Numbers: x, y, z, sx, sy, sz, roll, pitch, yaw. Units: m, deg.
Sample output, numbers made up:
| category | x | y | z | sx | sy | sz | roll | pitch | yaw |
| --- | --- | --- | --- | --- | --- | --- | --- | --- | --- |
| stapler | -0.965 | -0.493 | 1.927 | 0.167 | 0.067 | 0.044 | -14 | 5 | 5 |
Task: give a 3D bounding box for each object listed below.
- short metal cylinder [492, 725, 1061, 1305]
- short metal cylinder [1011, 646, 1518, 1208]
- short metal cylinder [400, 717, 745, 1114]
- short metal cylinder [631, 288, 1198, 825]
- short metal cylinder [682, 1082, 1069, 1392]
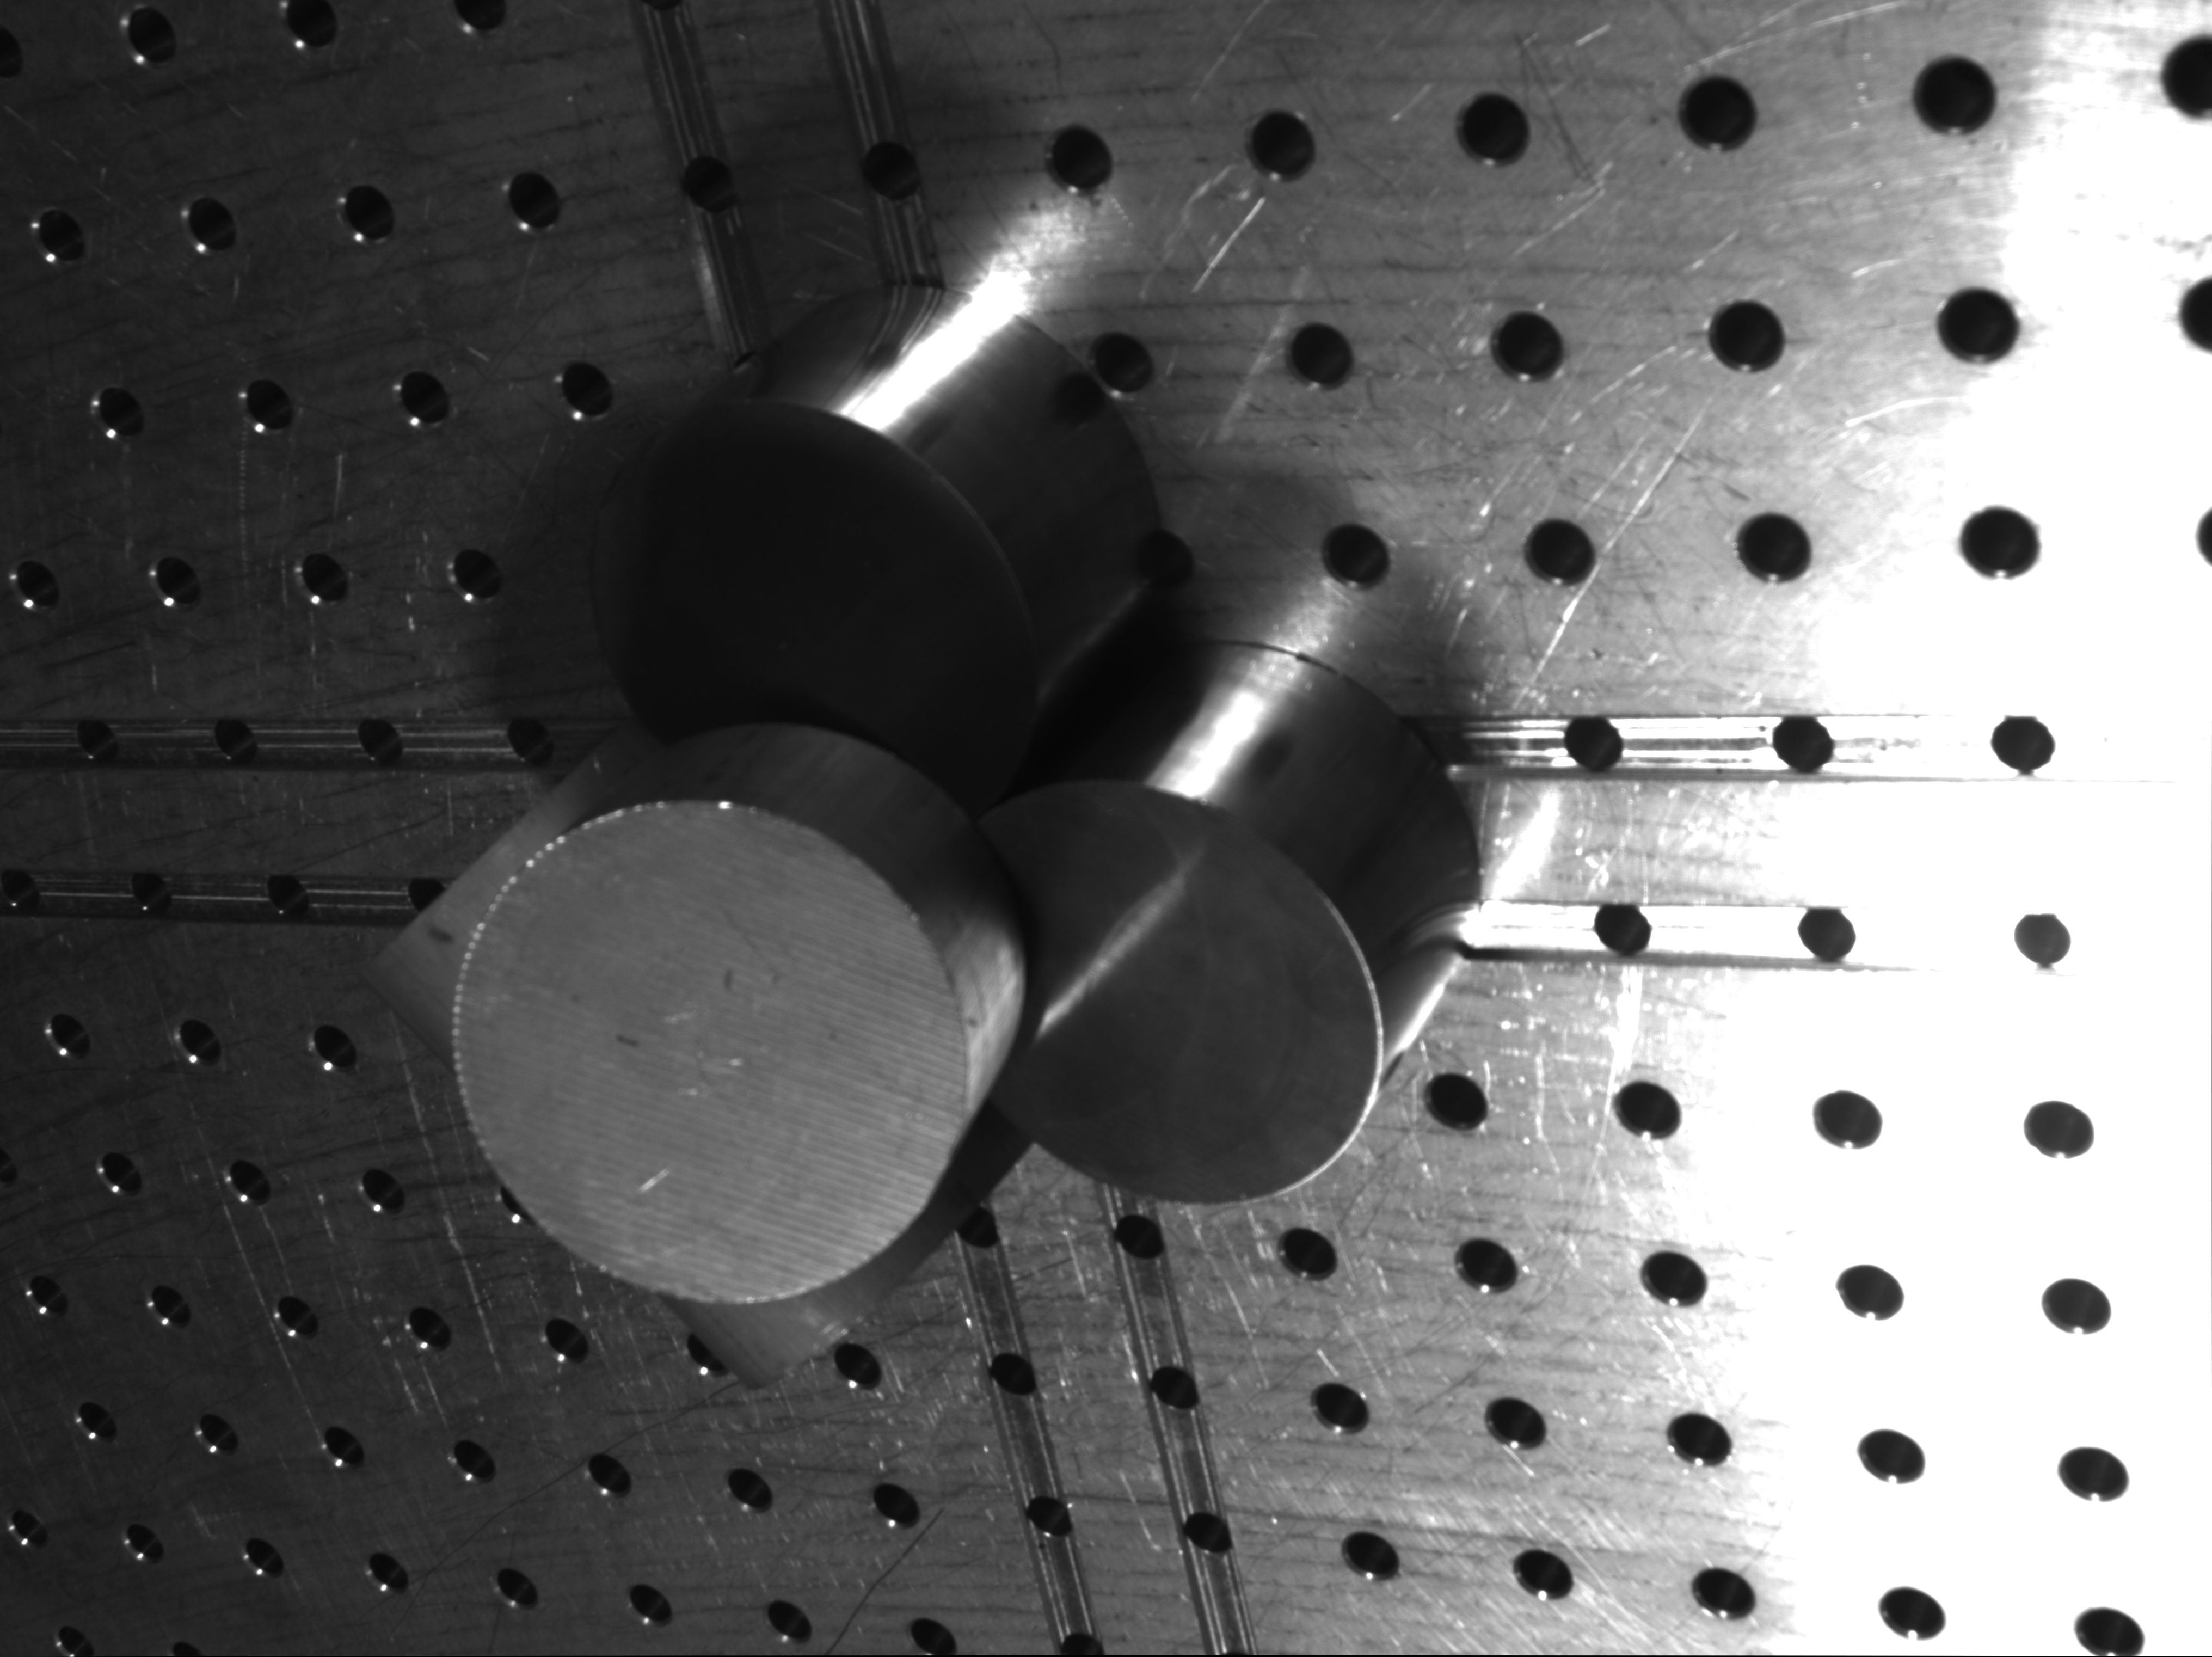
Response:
| category | x | y | z | sx | sy | sz | roll | pitch | yaw |
| --- | --- | --- | --- | --- | --- | --- | --- | --- | --- |
| short metal cylinder | -0.051 | 0.028 | 0.579 | 0.080 | 0.050 | 0.080 | 2 | 105 | 8 |
| short metal cylinder | 0.023 | 0.016 | 0.615 | 0.080 | 0.050 | 0.080 | 12 | 123 | 20 |
| short metal cylinder | -0.078 | 0.016 | 0.648 | 0.050 | 0.080 | 0.080 | 47 | 128 | -5 |
| short metal cylinder | -0.031 | -0.043 | 0.607 | 0.080 | 0.050 | 0.080 | 12 | 123 | 20 |
| short metal cylinder | -0.045 | 0.054 | 0.654 | 0.050 | 0.080 | 0.080 | 47 | 128 | -6 |
